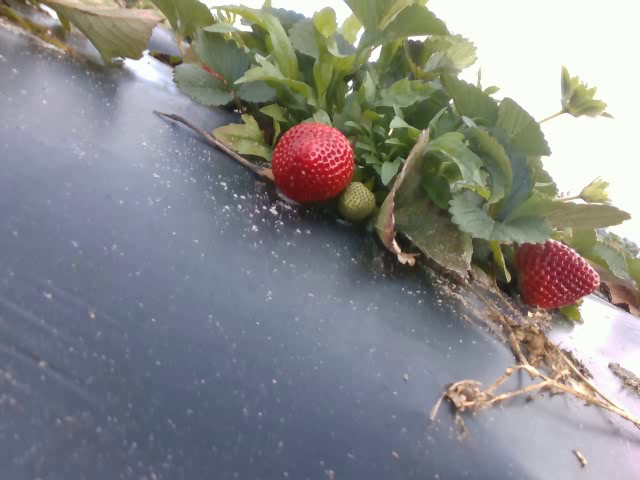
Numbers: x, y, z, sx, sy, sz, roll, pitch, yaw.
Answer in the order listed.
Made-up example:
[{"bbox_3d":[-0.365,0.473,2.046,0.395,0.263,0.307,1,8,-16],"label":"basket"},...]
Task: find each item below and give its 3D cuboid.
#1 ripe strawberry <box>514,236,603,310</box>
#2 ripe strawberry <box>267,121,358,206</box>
[{"bbox_3d":[0.135,0.018,0.341,0.046,0.047,0.043,16,30,30],"label":"ripe strawberry"},{"bbox_3d":[-0.006,-0.034,0.280,0.043,0.043,0.051,33,13,2],"label":"ripe strawberry"}]
